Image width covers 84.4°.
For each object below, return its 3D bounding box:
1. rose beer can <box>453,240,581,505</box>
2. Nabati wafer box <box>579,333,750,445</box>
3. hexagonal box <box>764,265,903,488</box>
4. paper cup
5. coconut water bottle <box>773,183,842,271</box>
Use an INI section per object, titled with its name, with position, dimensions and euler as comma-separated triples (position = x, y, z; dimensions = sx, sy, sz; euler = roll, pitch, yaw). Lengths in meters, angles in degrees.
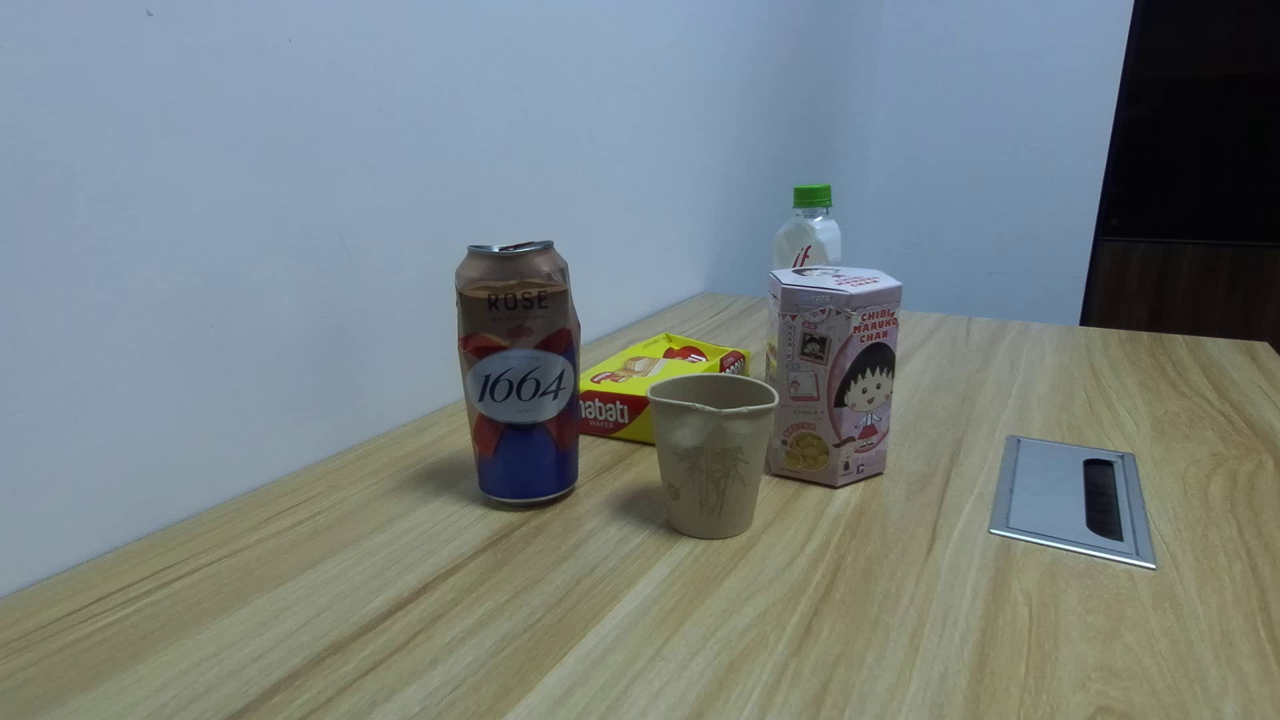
[rose beer can]
position = -0.076, 0.008, 0.459
dimensions = 0.076, 0.167, 0.065
euler = -2, 15, 7
[Nabati wafer box]
position = 0.023, 0.017, 0.635
dimensions = 0.096, 0.042, 0.204
euler = 6, 18, 28
[hexagonal box]
position = 0.130, 0.009, 0.487
dimensions = 0.091, 0.136, 0.083
euler = -11, 20, -29
[paper cup]
position = 0.042, 0.057, 0.424
dimensions = 0.074, 0.081, 0.068
euler = -8, 18, -22
[coconut water bottle]
position = 0.144, -0.052, 0.599
dimensions = 0.067, 0.187, 0.067
euler = 0, 11, 0
